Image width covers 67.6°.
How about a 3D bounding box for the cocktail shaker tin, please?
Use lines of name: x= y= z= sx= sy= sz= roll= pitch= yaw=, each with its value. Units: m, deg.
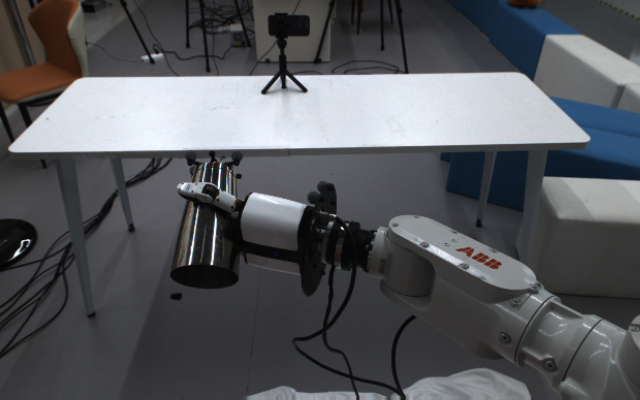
cocktail shaker tin: x=-0.160 y=0.032 z=0.696 sx=0.093 sy=0.093 sz=0.170 roll=0 pitch=59 yaw=-3
